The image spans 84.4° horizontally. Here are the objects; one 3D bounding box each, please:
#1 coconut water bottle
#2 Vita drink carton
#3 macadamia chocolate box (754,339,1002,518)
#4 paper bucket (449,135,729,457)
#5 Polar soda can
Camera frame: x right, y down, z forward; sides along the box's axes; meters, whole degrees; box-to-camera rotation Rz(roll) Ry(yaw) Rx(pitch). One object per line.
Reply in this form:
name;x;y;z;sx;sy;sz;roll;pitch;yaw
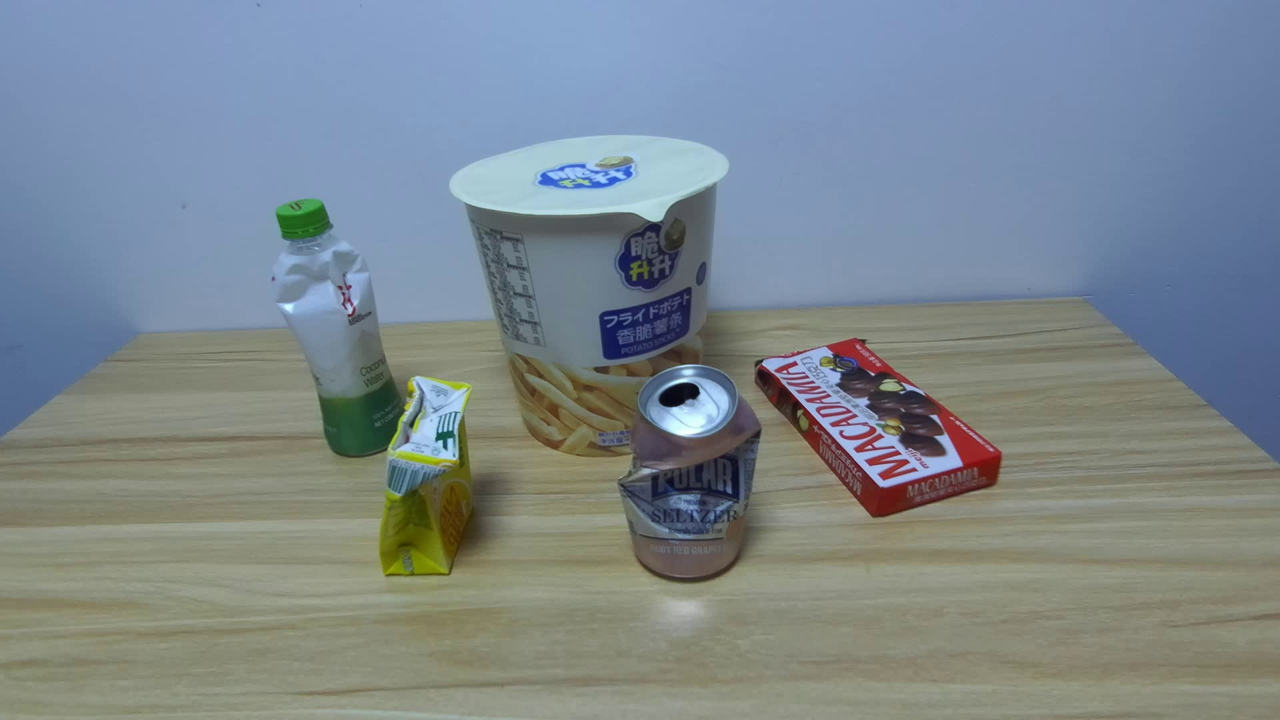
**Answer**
coconut water bottle;-0.218;-0.022;0.513;0.069;0.186;0.069;-1;31;1
Vita drink carton;-0.127;0.073;0.430;0.042;0.108;0.087;10;34;-3
macadamia chocolate box;0.170;0.040;0.531;0.106;0.028;0.182;-12;31;-13
paper bucket;-0.027;-0.049;0.535;0.198;0.195;0.198;-3;31;2
Polar soda can;0.027;0.069;0.405;0.071;0.122;0.066;-27;42;-32
